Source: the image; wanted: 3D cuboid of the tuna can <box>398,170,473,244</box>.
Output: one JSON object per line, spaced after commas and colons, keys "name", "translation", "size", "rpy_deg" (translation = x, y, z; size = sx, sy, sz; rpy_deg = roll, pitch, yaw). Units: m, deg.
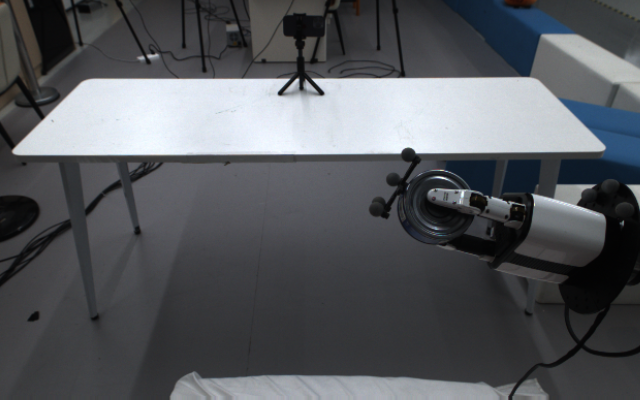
{"name": "tuna can", "translation": [0.139, 0.006, 0.569], "size": [0.085, 0.034, 0.085], "rpy_deg": [1, 75, -5]}
